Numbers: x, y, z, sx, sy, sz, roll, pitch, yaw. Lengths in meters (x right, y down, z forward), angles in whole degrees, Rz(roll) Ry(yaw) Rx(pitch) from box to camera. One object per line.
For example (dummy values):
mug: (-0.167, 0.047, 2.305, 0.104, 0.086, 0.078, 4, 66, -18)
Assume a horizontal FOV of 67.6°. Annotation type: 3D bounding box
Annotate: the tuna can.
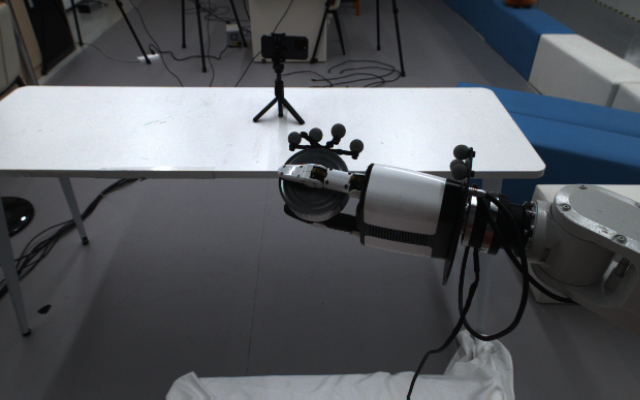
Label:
tuna can: (-0.004, -0.019, 0.588, 0.085, 0.034, 0.085, -3, 69, 7)
